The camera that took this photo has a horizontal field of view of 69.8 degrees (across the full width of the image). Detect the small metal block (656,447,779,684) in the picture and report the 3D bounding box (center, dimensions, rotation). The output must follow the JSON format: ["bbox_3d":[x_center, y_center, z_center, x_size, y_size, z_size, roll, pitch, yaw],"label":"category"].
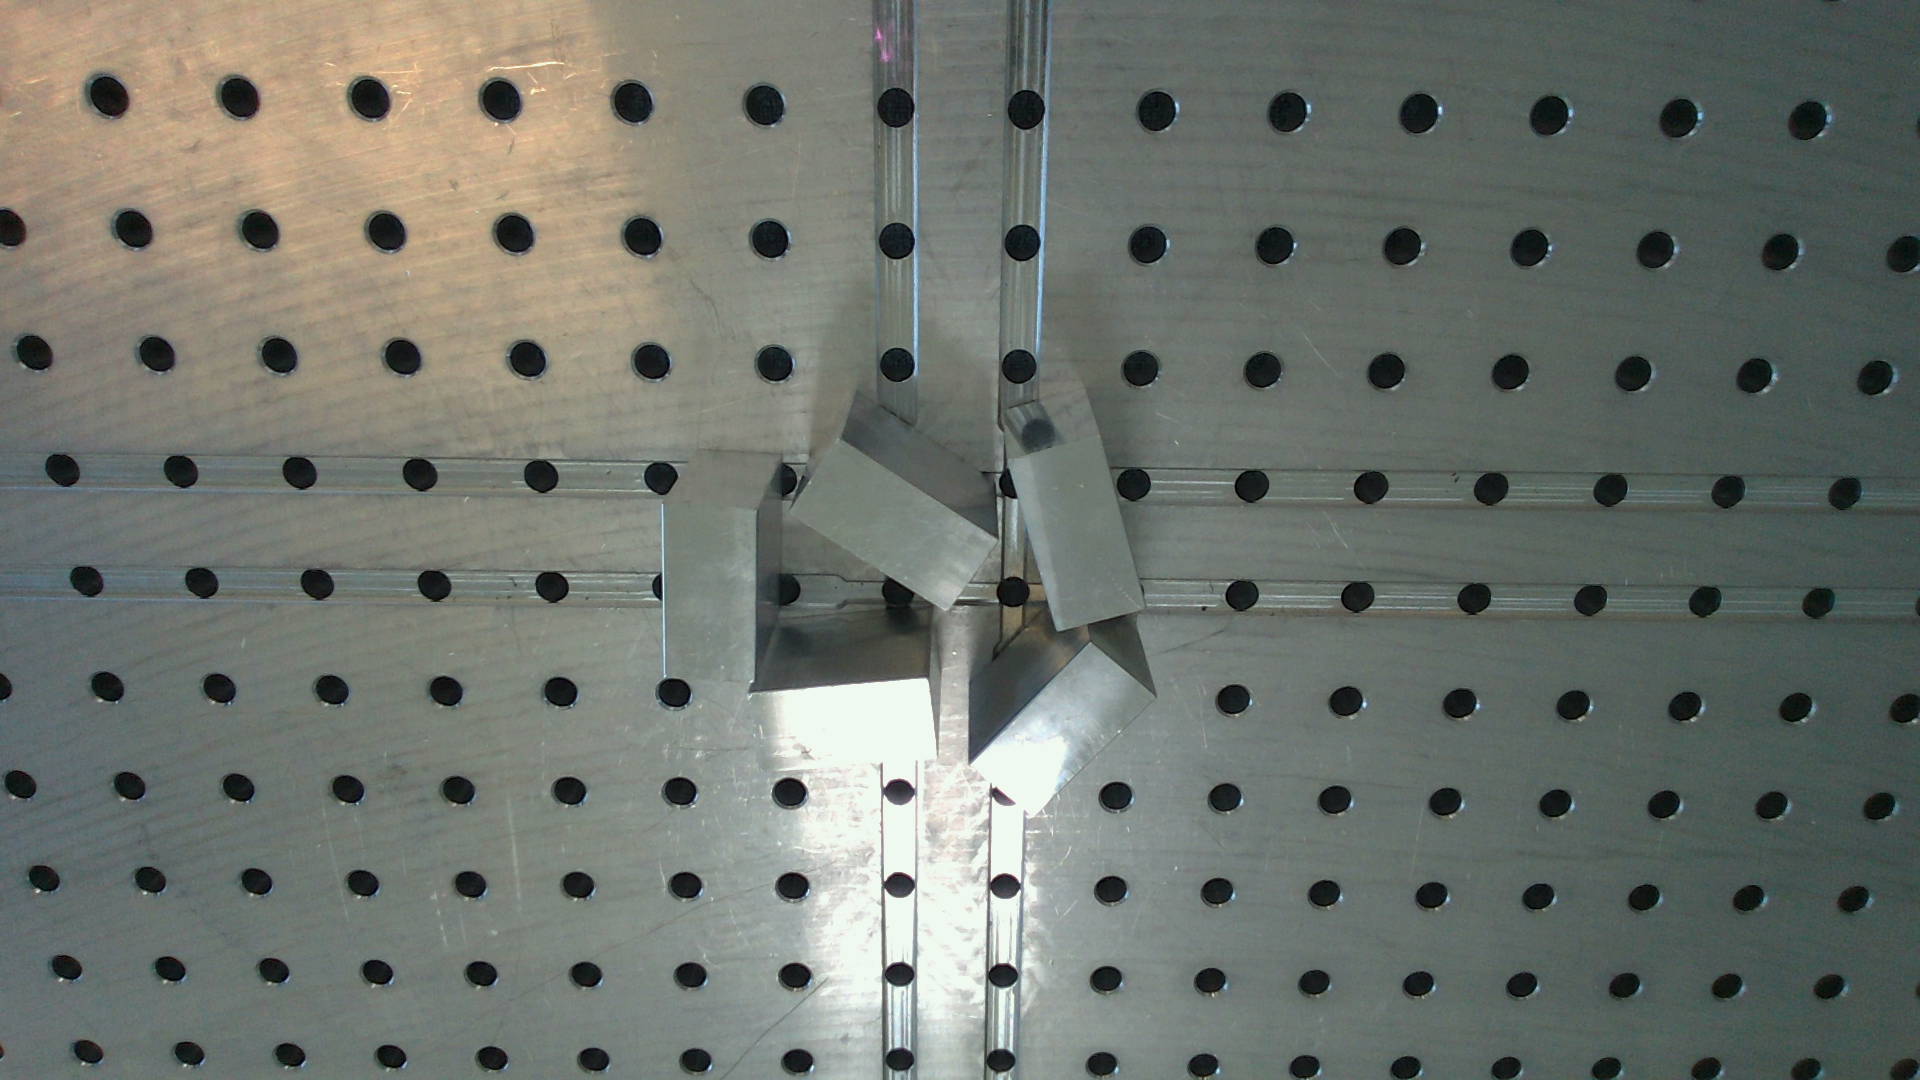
[{"bbox_3d":[-0.067,0.006,0.385,0.025,0.050,0.050,3,111,-1],"label":"small metal block"}]

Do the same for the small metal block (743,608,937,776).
[{"bbox_3d":[-0.032,0.043,0.398,0.050,0.050,0.025,-5,110,2],"label":"small metal block"}]

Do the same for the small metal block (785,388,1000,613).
[{"bbox_3d":[-0.017,-0.012,0.378,0.050,0.050,0.025,32,108,-12],"label":"small metal block"}]

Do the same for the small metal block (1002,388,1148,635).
[{"bbox_3d":[0.031,-0.009,0.379,0.025,0.050,0.050,-15,109,6],"label":"small metal block"}]

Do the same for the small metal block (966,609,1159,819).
[{"bbox_3d":[0.028,0.044,0.399,0.025,0.050,0.050,41,105,-12],"label":"small metal block"}]
